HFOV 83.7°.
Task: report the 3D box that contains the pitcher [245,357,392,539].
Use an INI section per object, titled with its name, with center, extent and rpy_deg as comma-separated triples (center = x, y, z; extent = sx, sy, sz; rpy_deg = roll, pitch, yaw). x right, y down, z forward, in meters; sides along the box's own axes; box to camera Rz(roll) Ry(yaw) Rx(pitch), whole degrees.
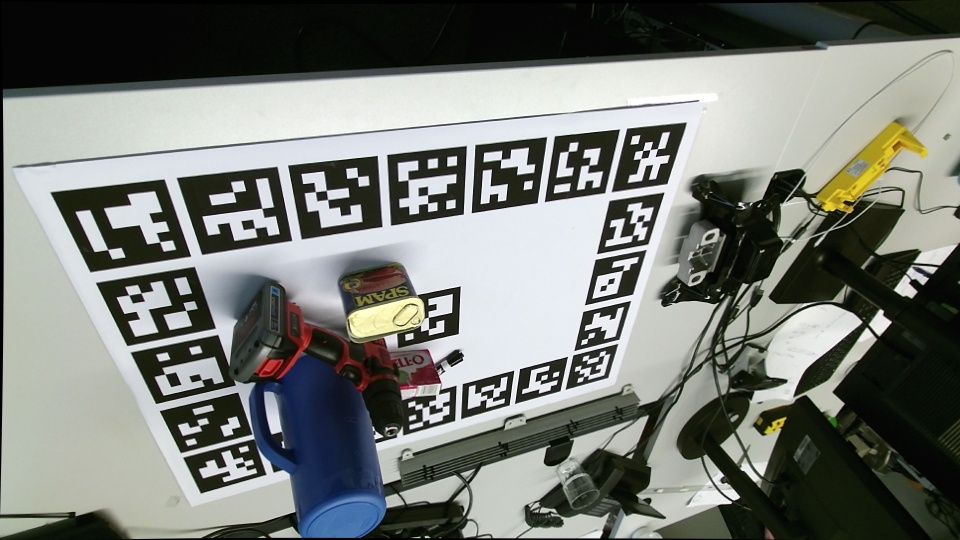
[pitcher]
center = -0.220, 0.238, 0.729
extent = 0.189, 0.242, 0.133
rpy_deg = 18, 111, -42

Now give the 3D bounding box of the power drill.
[power drill]
center = -0.180, 0.133, 0.702
extent = 0.188, 0.184, 0.057
rpy_deg = 25, 107, -31

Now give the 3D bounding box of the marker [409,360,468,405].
[marker]
center = -0.074, 0.188, 0.897
extent = 0.121, 0.019, 0.020
rpy_deg = -33, 131, -2

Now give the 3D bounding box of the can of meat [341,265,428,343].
[can of meat]
center = -0.131, 0.043, 0.721
extent = 0.102, 0.083, 0.058
rpy_deg = -12, 130, -17

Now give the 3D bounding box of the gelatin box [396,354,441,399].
[gelatin box]
center = -0.114, 0.166, 0.831
extent = 0.090, 0.073, 0.030
rpy_deg = -1, 120, -24
